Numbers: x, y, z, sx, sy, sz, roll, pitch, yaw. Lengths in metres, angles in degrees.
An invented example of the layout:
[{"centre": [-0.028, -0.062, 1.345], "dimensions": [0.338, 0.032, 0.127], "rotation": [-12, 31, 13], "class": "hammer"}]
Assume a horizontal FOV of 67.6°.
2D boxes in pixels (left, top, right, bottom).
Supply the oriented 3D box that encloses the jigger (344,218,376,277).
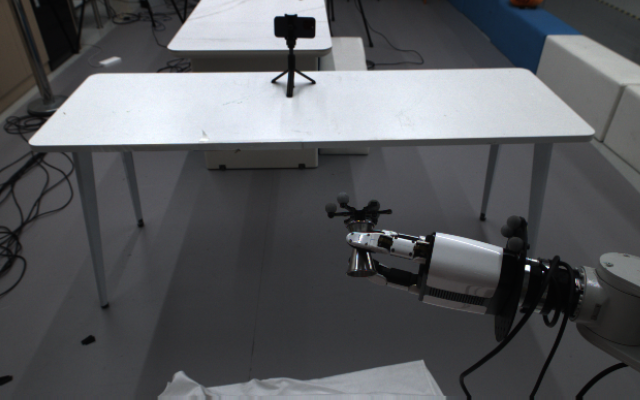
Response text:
[{"centre": [0.055, 0.064, 0.650], "dimensions": [0.043, 0.043, 0.071], "rotation": [1, 70, -2], "class": "jigger"}]
